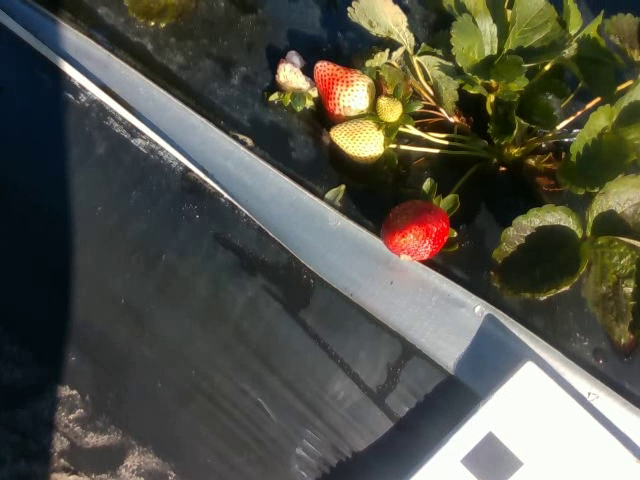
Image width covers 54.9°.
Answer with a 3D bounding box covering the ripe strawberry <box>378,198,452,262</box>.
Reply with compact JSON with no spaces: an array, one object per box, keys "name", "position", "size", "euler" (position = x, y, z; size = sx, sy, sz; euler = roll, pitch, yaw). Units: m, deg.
[{"name":"ripe strawberry","position":[0.042,-0.004,0.286],"size":[0.036,0.038,0.045],"euler":[42,20,18]}]
